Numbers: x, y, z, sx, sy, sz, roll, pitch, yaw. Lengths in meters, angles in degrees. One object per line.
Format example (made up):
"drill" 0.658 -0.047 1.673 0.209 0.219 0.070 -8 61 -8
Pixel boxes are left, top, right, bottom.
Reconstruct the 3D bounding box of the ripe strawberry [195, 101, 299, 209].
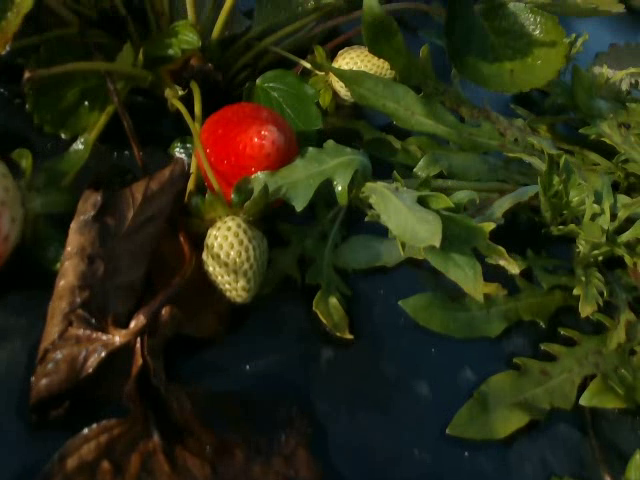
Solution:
"ripe strawberry" -0.019 -0.030 0.189 0.039 0.032 0.048 0 -4 -21
